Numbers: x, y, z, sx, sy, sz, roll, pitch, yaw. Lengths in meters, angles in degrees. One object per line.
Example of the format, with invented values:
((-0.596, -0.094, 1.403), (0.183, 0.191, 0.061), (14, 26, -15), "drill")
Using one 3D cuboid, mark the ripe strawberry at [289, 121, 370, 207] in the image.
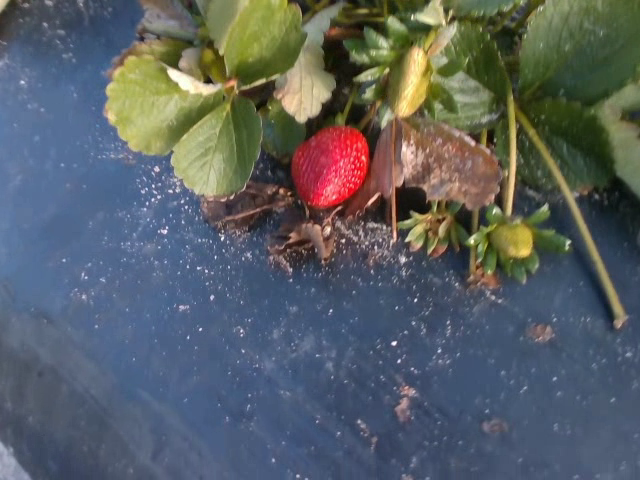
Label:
((0.001, -0.021, 0.200), (0.032, 0.025, 0.030), (-3, 43, 12), "ripe strawberry")
